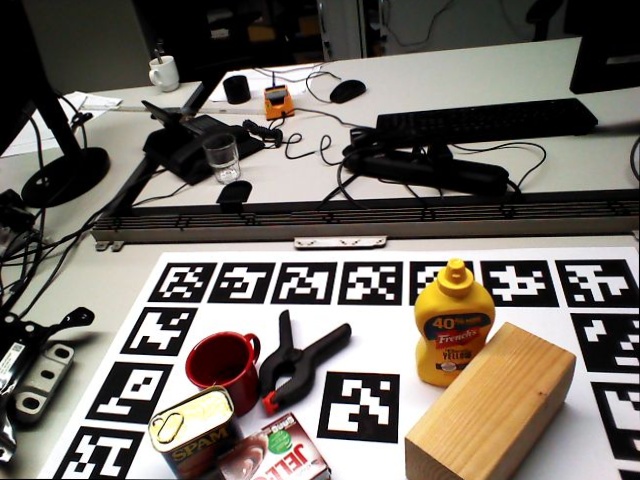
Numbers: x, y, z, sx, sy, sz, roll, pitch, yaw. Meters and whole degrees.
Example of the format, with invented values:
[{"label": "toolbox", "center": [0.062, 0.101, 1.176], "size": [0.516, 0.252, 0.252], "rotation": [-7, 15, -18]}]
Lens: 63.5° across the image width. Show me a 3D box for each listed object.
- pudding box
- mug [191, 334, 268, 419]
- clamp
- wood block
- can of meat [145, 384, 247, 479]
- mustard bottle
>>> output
[{"label": "pudding box", "center": [-0.047, 0.265, 0.601], "size": [0.113, 0.039, 0.090], "rotation": [-26, 42, -19]}, {"label": "mug", "center": [-0.112, 0.184, 0.716], "size": [0.094, 0.081, 0.116], "rotation": [15, 48, 29]}, {"label": "clamp", "center": [-0.025, 0.159, 0.730], "size": [0.122, 0.037, 0.164], "rotation": [14, 48, 26]}, {"label": "wood block", "center": [0.205, 0.199, 0.580], "size": [0.205, 0.091, 0.090], "rotation": [-35, 43, -28]}, {"label": "can of meat", "center": [-0.144, 0.232, 0.621], "size": [0.102, 0.084, 0.058], "rotation": [-21, 41, -11]}, {"label": "mustard bottle", "center": [0.171, 0.090, 0.630], "size": [0.096, 0.192, 0.058], "rotation": [-5, 41, 9]}]
